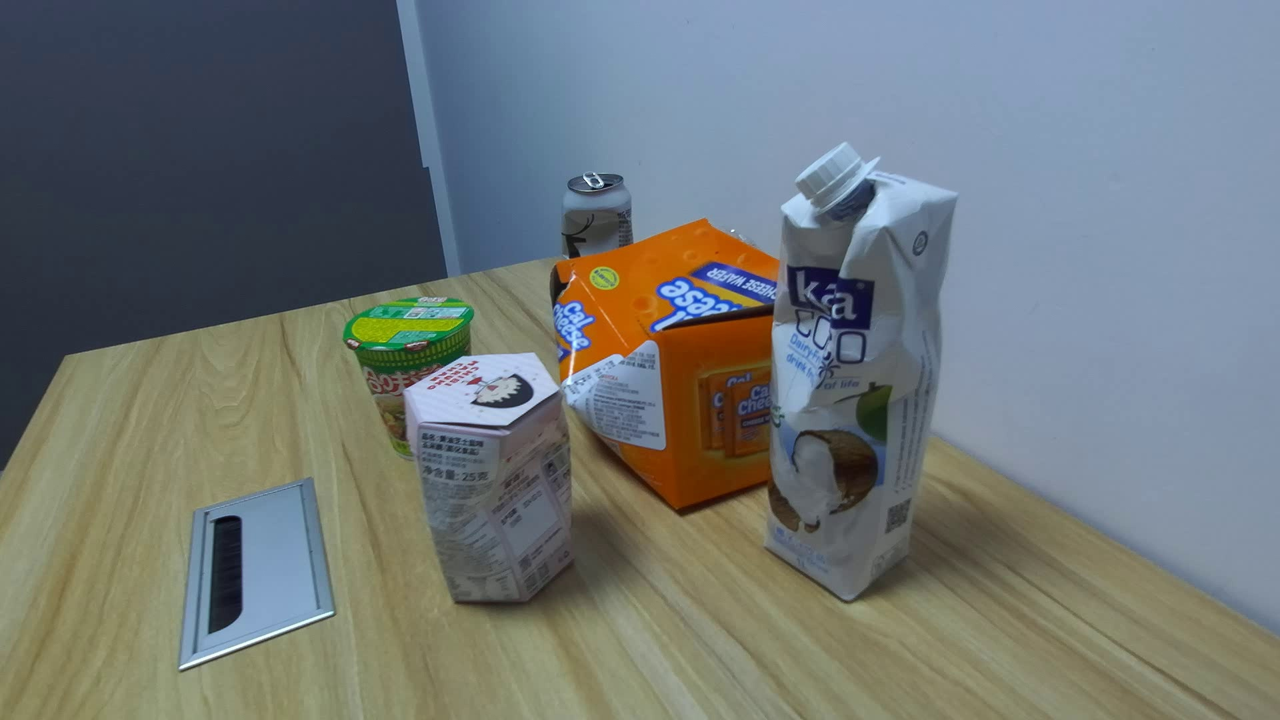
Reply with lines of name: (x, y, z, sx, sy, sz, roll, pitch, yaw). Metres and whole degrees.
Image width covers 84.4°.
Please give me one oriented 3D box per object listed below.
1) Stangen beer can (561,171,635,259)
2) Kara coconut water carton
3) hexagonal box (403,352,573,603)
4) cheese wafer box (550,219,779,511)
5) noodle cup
Stangen beer can: (-0.039, -0.099, 0.705, 0.070, 0.173, 0.070, -18, 33, -23)
Kara coconut water carton: (0.112, 0.009, 0.386, 0.078, 0.256, 0.083, -18, 31, -21)
hexagonal box: (-0.083, 0.072, 0.424, 0.091, 0.134, 0.090, -10, 30, -13)
cheese wafer box: (0.028, -0.010, 0.559, 0.192, 0.145, 0.218, -14, 29, -23)
noodle cup: (-0.173, 0.018, 0.560, 0.097, 0.110, 0.097, -3, 27, 2)
